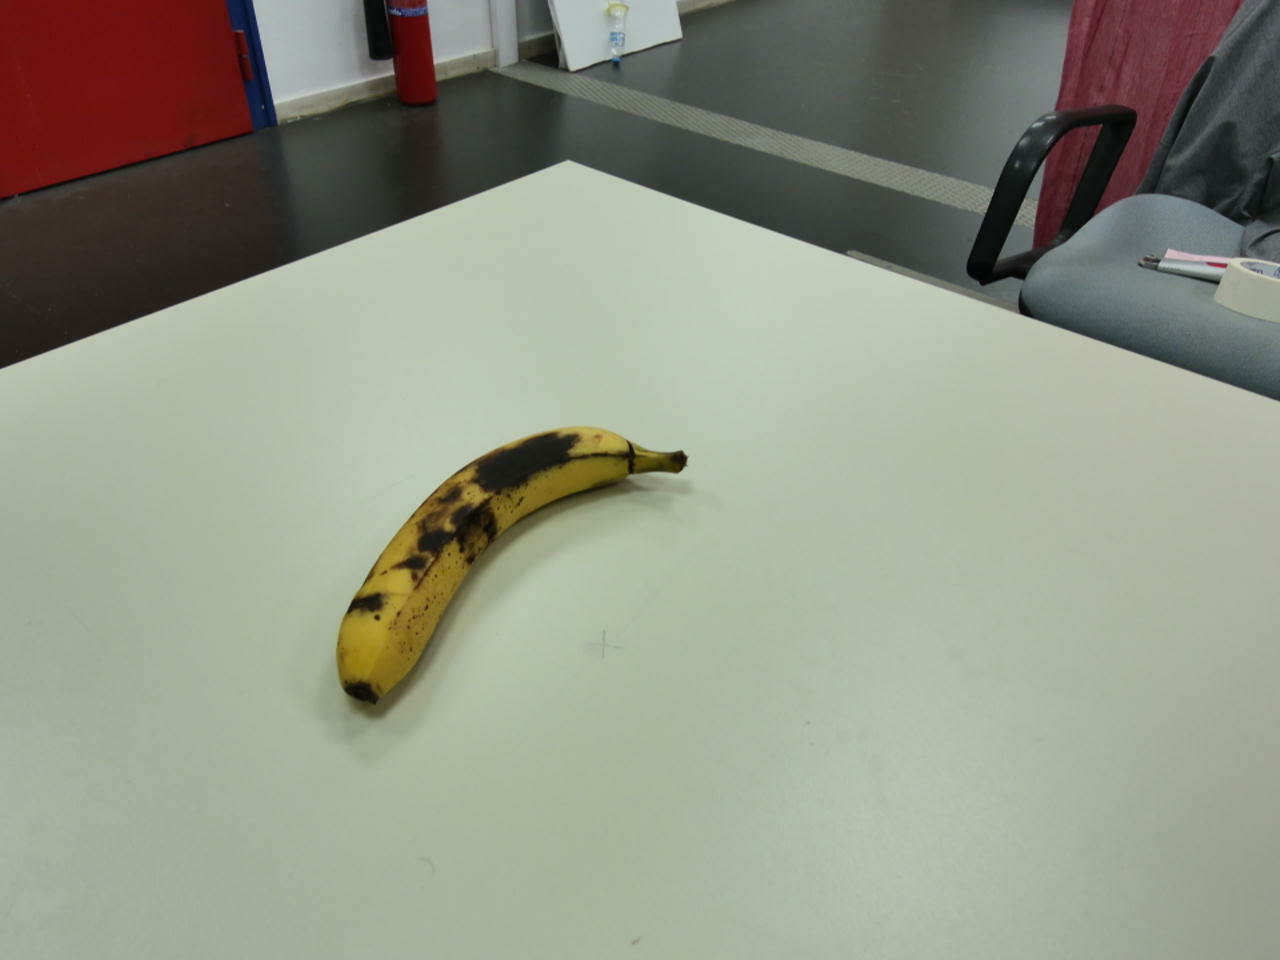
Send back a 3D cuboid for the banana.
[{"bbox_3d":[-0.074,0.024,0.497,0.084,0.037,0.222,28,44,30],"label":"banana"}]
